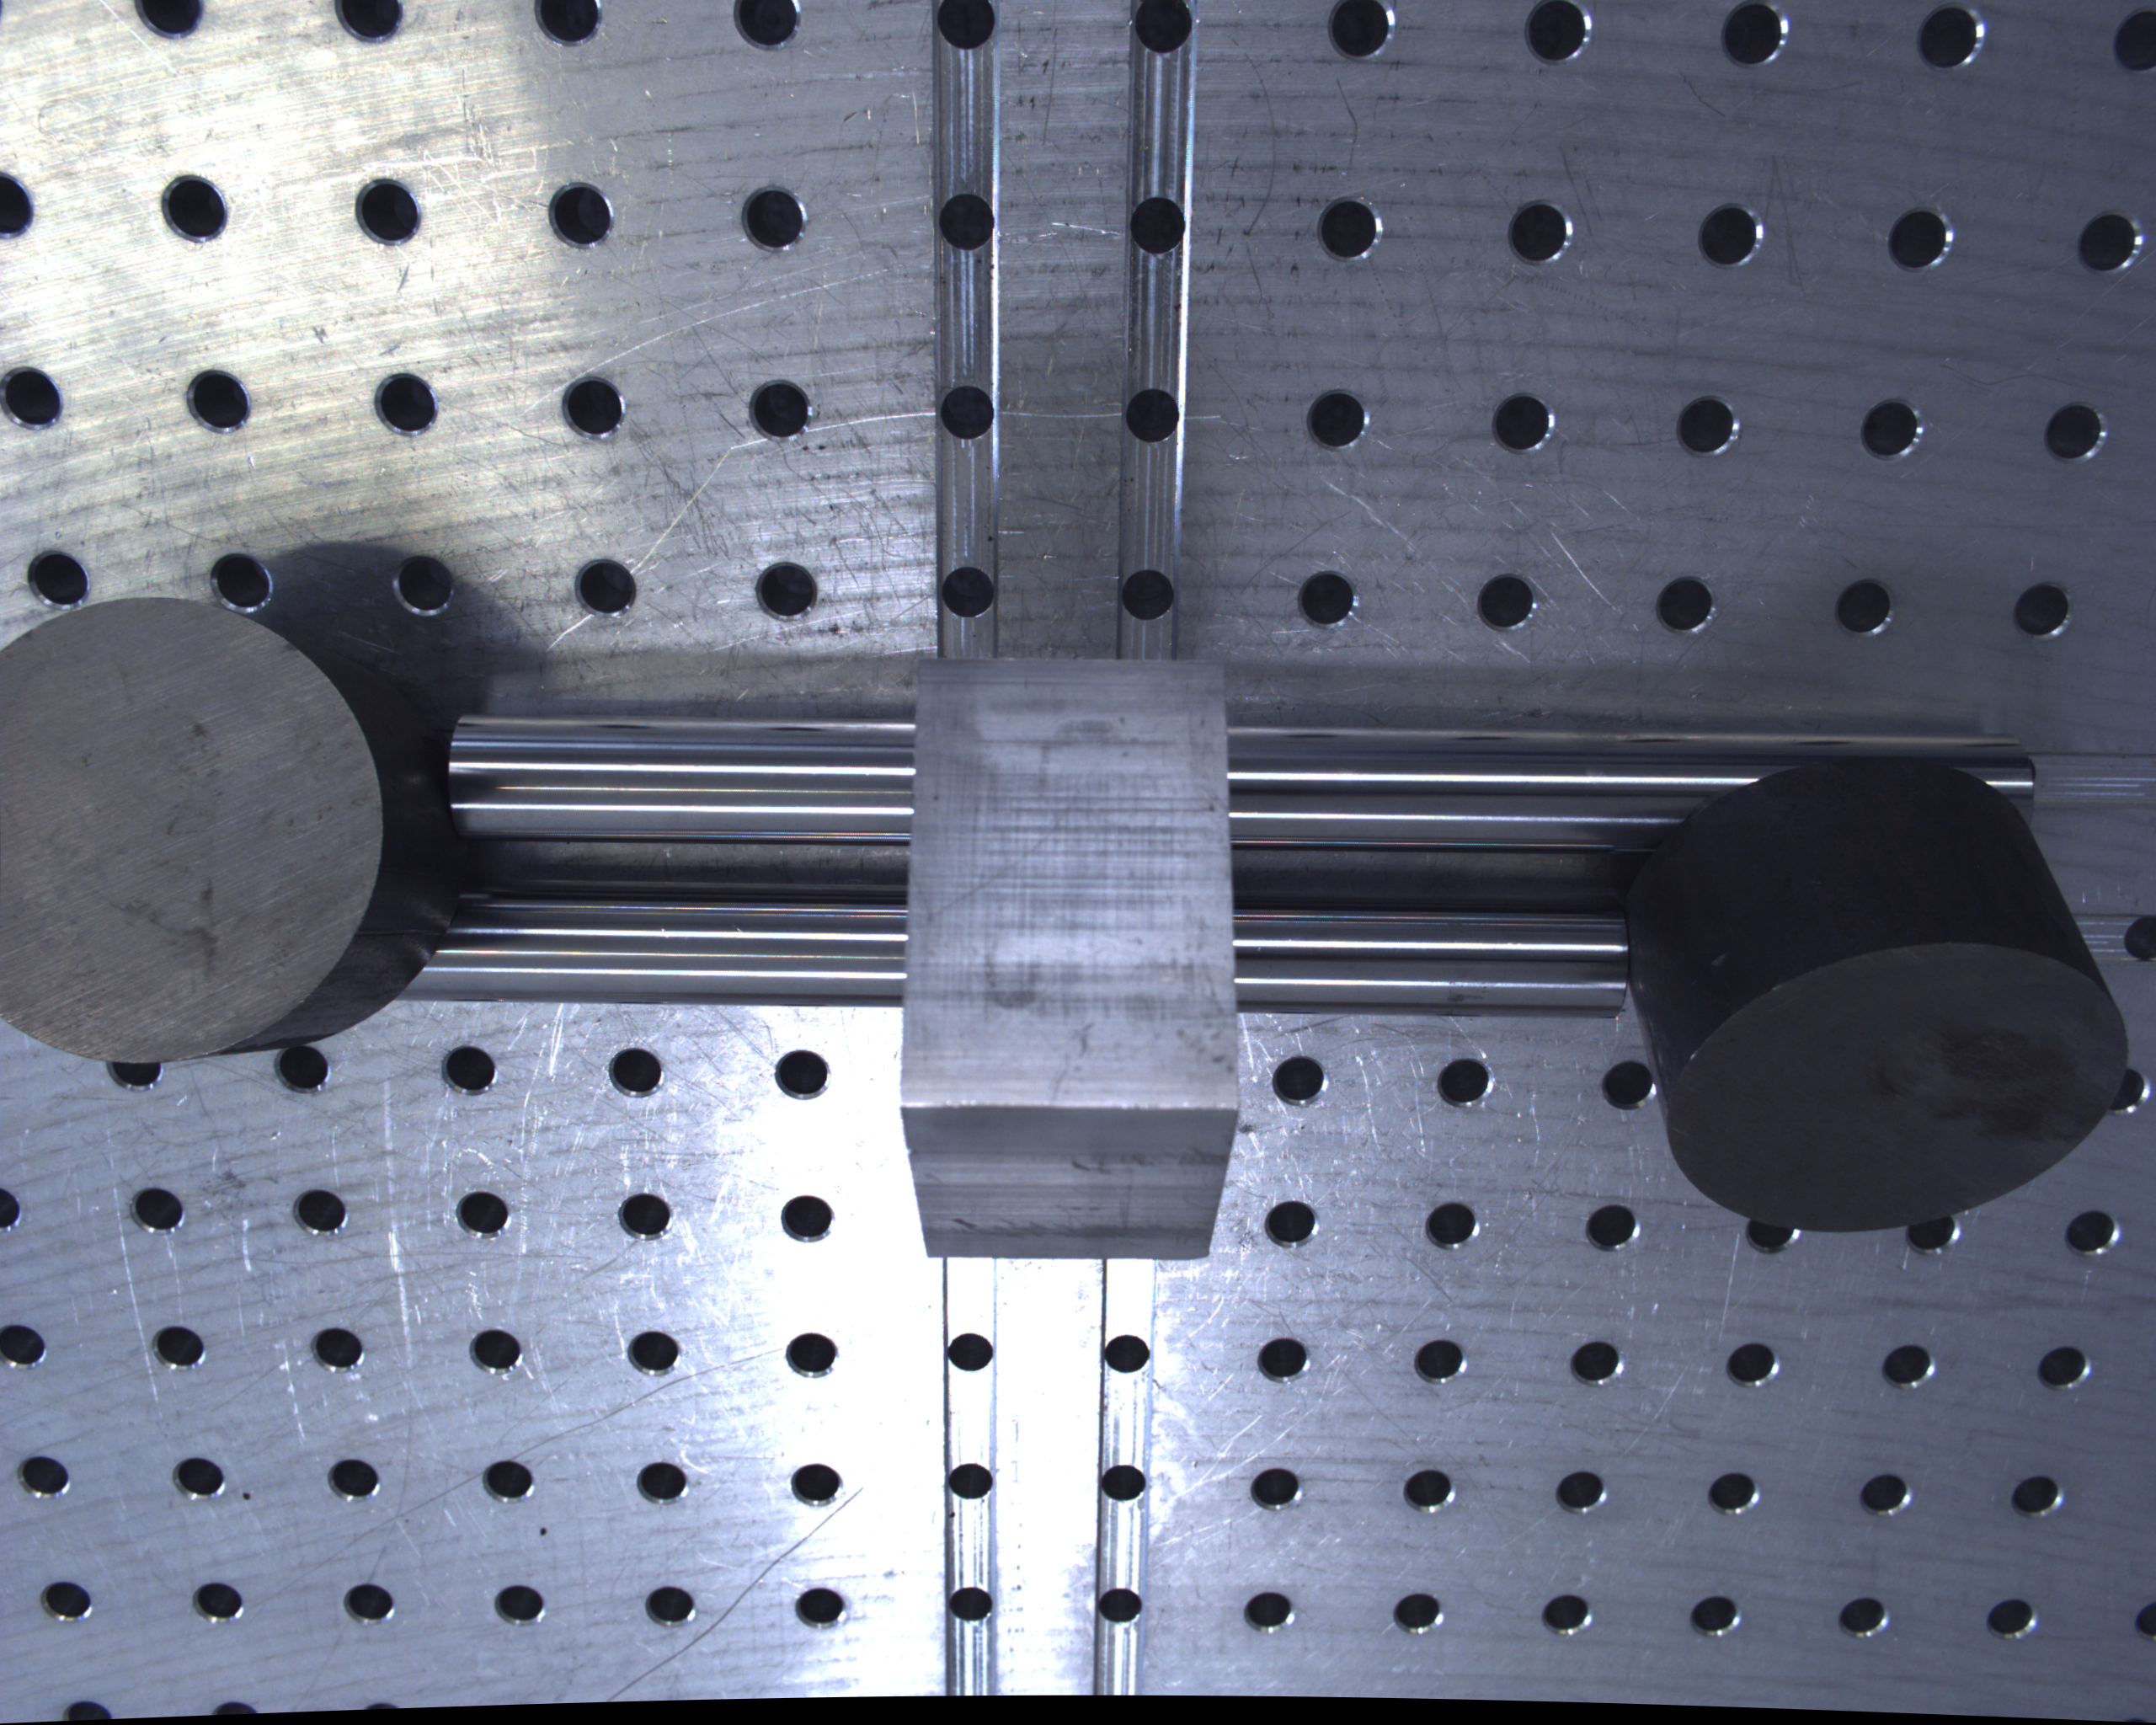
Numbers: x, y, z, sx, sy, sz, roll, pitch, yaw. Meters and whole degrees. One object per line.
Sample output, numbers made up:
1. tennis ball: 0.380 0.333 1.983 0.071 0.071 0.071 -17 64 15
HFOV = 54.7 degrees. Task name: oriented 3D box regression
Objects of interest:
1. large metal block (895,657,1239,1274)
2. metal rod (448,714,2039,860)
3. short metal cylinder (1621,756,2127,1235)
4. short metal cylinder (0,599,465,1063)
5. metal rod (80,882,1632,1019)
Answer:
1. large metal block: -0.002 0.020 0.359 0.050 0.080 0.080 1 152 0
2. metal rod: 0.032 -0.015 0.408 0.302 0.025 0.025 1 110 -1
3. short metal cylinder: 0.148 0.026 0.397 0.081 0.050 0.079 0 132 0
4. short metal cylinder: -0.160 -0.005 0.382 0.081 0.050 0.080 0 87 -1
5. metal rod: -0.043 0.017 0.419 0.302 0.025 0.025 1 110 -1
